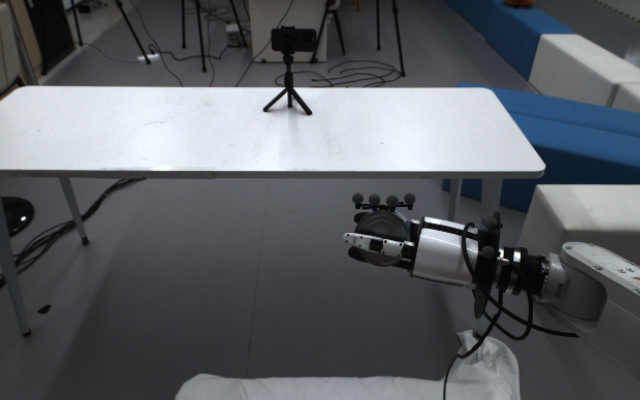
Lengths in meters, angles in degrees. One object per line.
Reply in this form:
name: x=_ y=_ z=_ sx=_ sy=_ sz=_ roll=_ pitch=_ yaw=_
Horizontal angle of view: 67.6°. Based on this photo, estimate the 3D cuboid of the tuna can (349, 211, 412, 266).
tuna can: x=0.098 y=0.055 z=0.737 sx=0.085 sy=0.085 sz=0.034 roll=15 pitch=10 yaw=18
